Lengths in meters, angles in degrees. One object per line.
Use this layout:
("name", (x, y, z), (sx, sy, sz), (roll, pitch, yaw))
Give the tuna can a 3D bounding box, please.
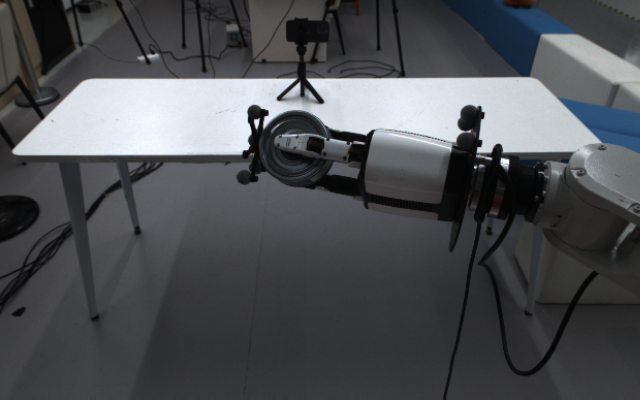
("tuna can", (-0.023, -0.056, 0.560), (0.085, 0.085, 0.034), (9, -6, 10))
